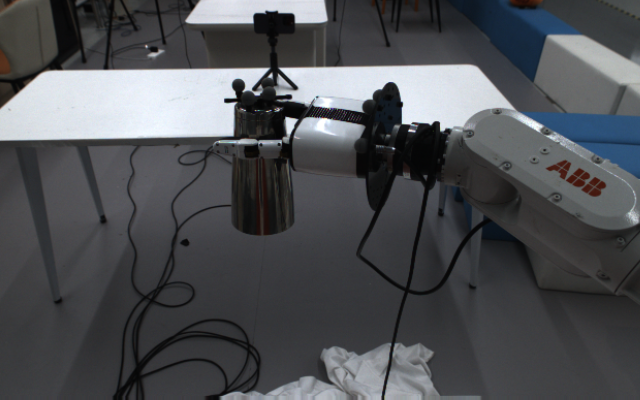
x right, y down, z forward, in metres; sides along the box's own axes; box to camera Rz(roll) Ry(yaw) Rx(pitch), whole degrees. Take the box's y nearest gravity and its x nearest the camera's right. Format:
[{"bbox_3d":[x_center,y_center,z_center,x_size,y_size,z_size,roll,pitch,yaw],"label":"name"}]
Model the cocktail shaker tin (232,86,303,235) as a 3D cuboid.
[{"bbox_3d":[-0.079,-0.051,0.669,0.093,0.170,0.093,1,27,-1],"label":"cocktail shaker tin"}]
